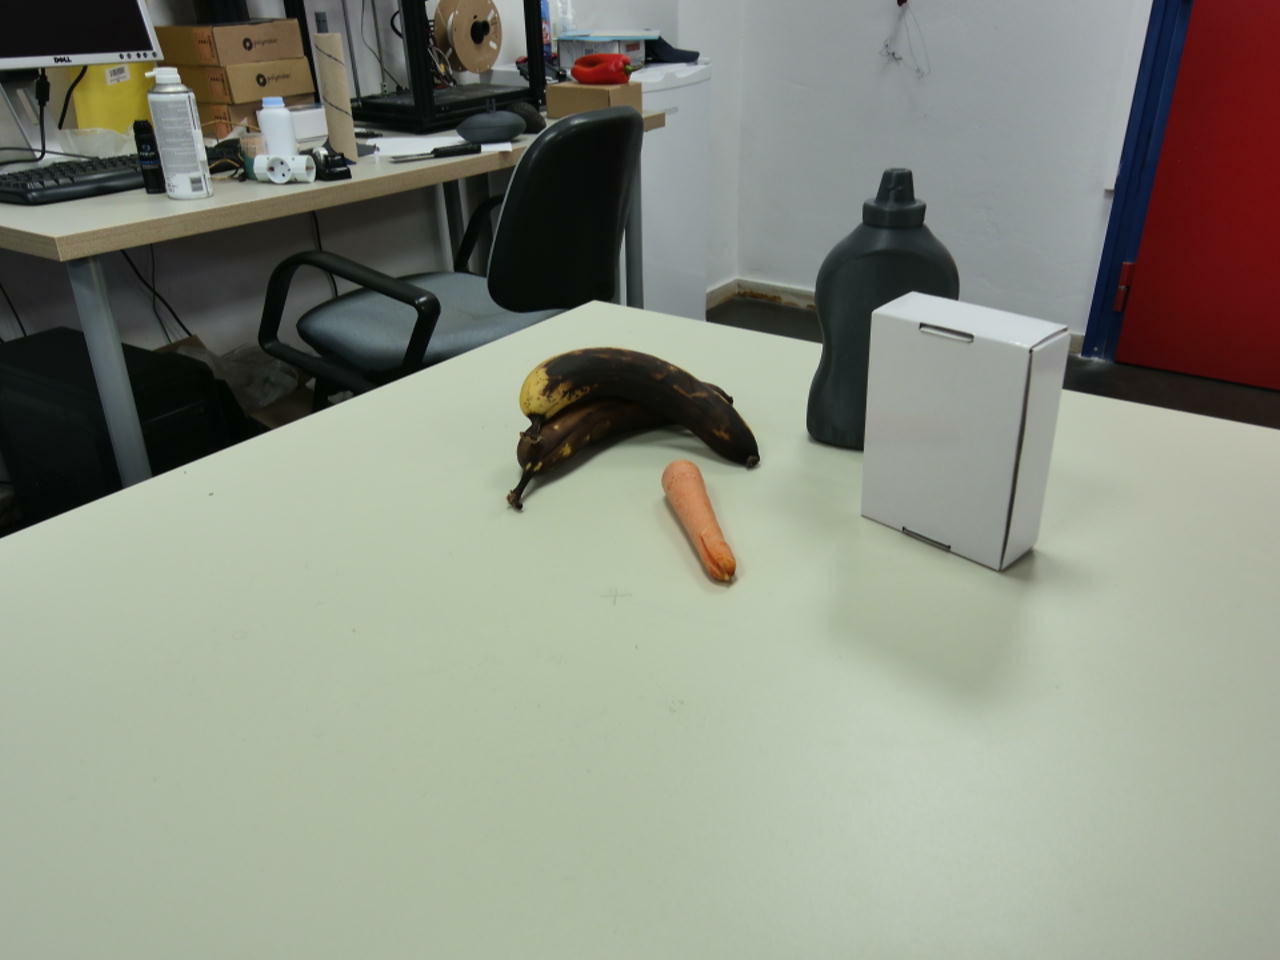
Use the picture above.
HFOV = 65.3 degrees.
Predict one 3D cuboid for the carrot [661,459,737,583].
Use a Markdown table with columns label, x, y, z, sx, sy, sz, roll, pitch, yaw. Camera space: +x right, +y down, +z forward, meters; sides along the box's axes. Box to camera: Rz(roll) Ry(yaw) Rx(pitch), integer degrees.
| label | x | y | z | sx | sy | sz | roll | pitch | yaw |
| --- | --- | --- | --- | --- | --- | --- | --- | --- | --- |
| carrot | 0.037 | 0.022 | 0.648 | 0.030 | 0.032 | 0.136 | -4 | 25 | -9 |
